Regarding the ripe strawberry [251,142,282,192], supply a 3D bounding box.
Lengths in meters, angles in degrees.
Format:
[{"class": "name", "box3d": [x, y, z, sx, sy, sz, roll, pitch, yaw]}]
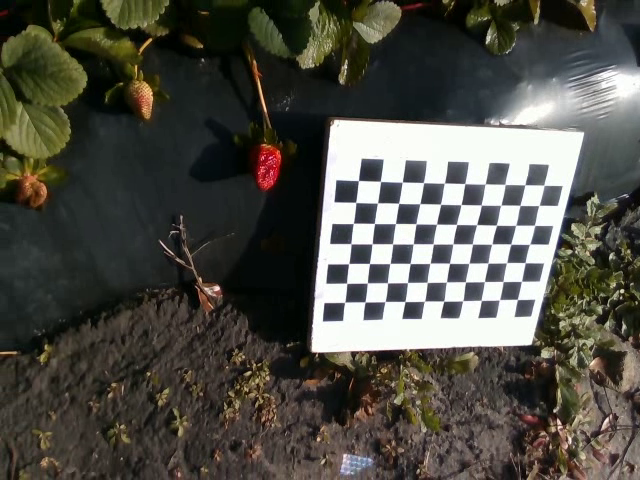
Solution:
[{"class": "ripe strawberry", "box3d": [-0.021, -0.027, 0.205, 0.015, 0.023, 0.015, 8, -31, -16]}]
